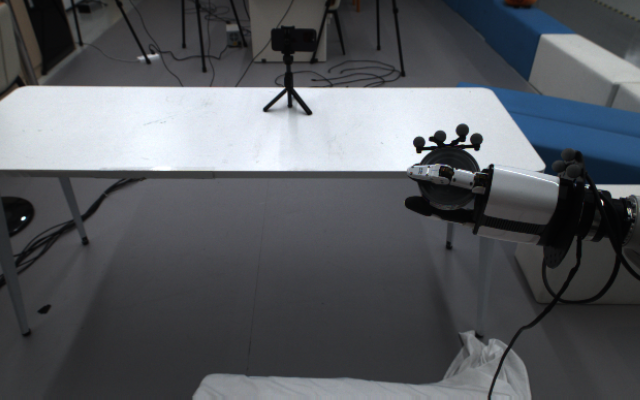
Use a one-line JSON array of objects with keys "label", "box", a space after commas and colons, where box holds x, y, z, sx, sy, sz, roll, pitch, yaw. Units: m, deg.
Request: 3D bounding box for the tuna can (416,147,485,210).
[{"label": "tuna can", "box": [0.181, -0.031, 0.684, 0.085, 0.034, 0.085, -4, 73, 15]}]
